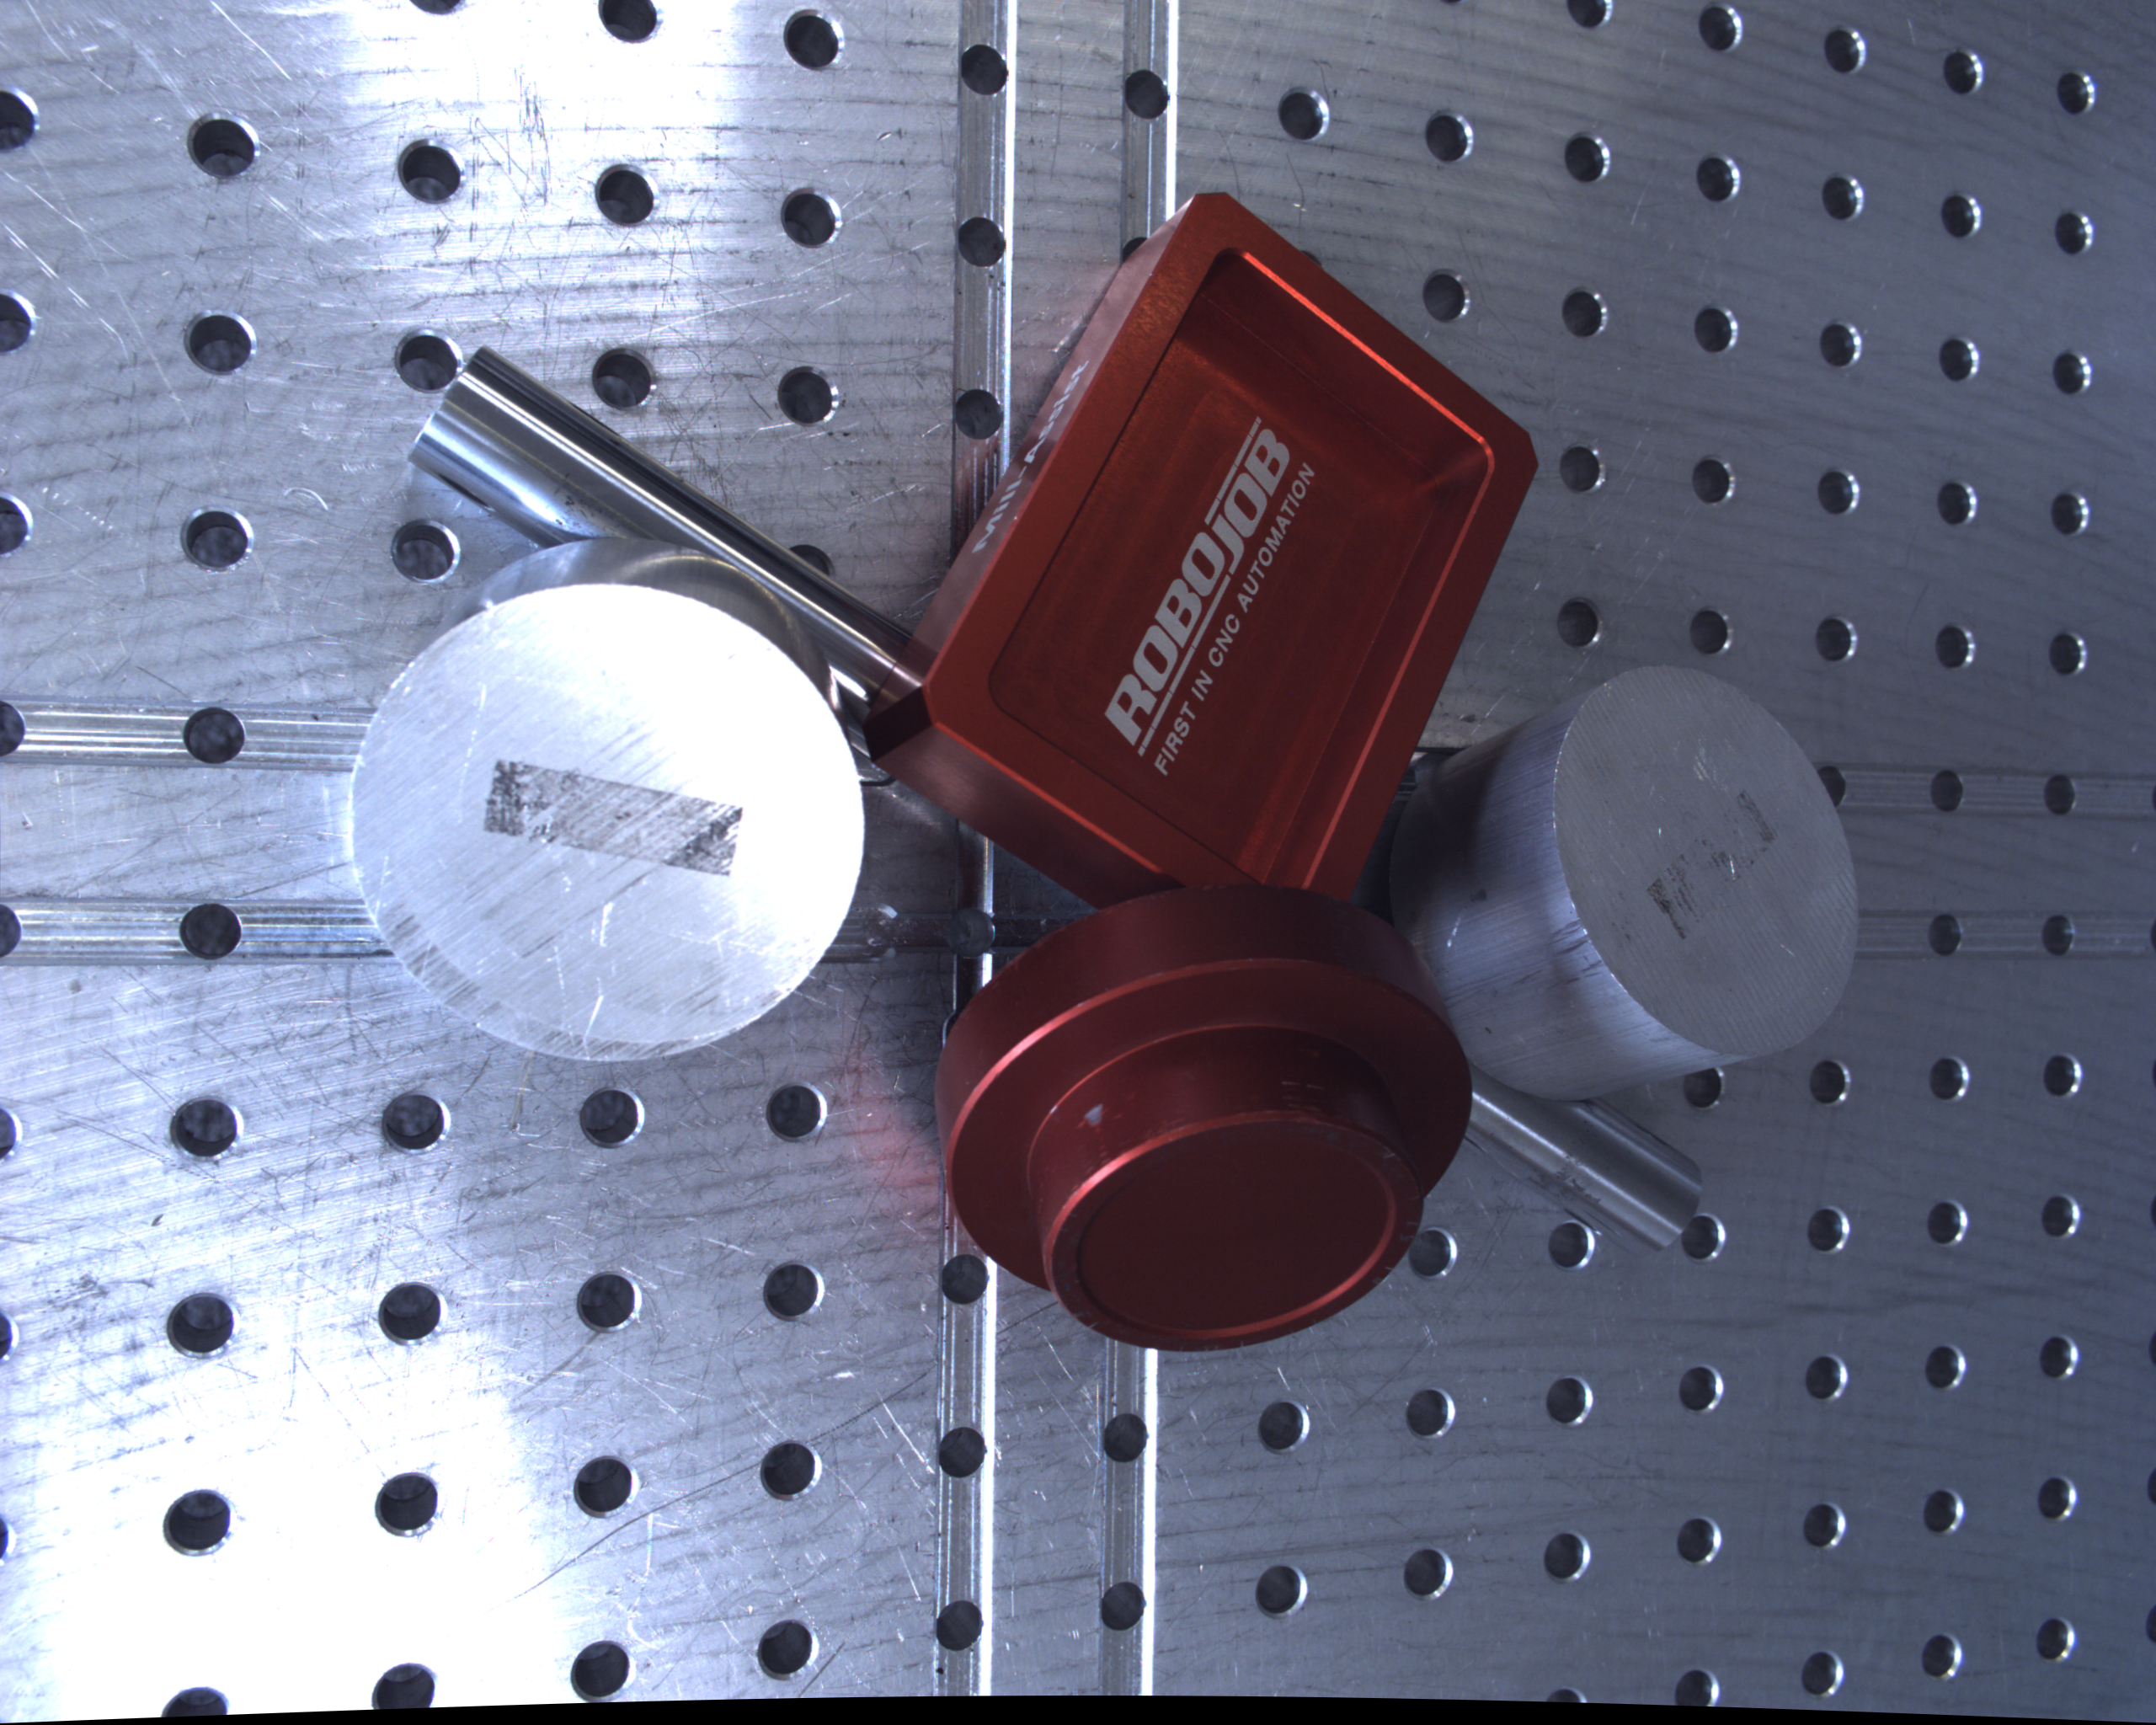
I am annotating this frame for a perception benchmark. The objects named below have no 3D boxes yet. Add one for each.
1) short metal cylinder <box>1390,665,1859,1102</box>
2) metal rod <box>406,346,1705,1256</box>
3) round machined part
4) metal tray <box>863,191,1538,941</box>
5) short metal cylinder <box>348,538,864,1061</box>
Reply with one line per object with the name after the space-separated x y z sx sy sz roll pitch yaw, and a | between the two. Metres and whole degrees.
0.112 0.006 0.428 0.081 0.050 0.080 11 68 -28 | short metal cylinder
0.008 -0.003 0.415 0.301 0.025 0.025 33 79 -17 | metal rod
0.025 0.054 0.384 0.099 0.042 0.097 -6 134 -7 | round machined part
0.028 -0.054 0.404 0.090 0.030 0.130 34 66 -17 | metal tray
-0.079 -0.012 0.358 0.081 0.050 0.079 -3 107 -9 | short metal cylinder
